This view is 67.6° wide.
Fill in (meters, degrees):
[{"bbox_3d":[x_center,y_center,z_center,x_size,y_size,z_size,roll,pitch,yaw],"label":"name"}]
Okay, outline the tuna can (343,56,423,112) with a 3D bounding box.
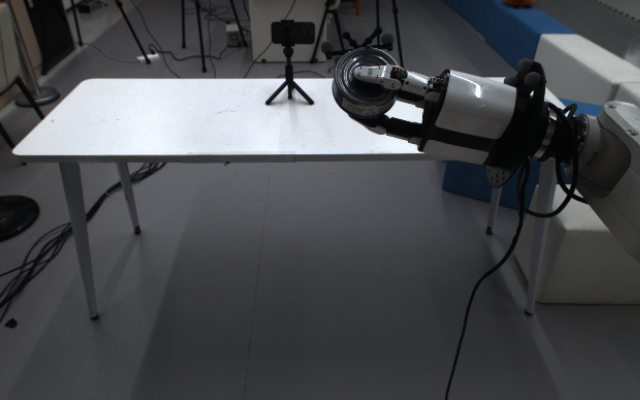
[{"bbox_3d":[0.063,-0.144,0.609,0.085,0.034,0.085,0,72,-1],"label":"tuna can"}]
